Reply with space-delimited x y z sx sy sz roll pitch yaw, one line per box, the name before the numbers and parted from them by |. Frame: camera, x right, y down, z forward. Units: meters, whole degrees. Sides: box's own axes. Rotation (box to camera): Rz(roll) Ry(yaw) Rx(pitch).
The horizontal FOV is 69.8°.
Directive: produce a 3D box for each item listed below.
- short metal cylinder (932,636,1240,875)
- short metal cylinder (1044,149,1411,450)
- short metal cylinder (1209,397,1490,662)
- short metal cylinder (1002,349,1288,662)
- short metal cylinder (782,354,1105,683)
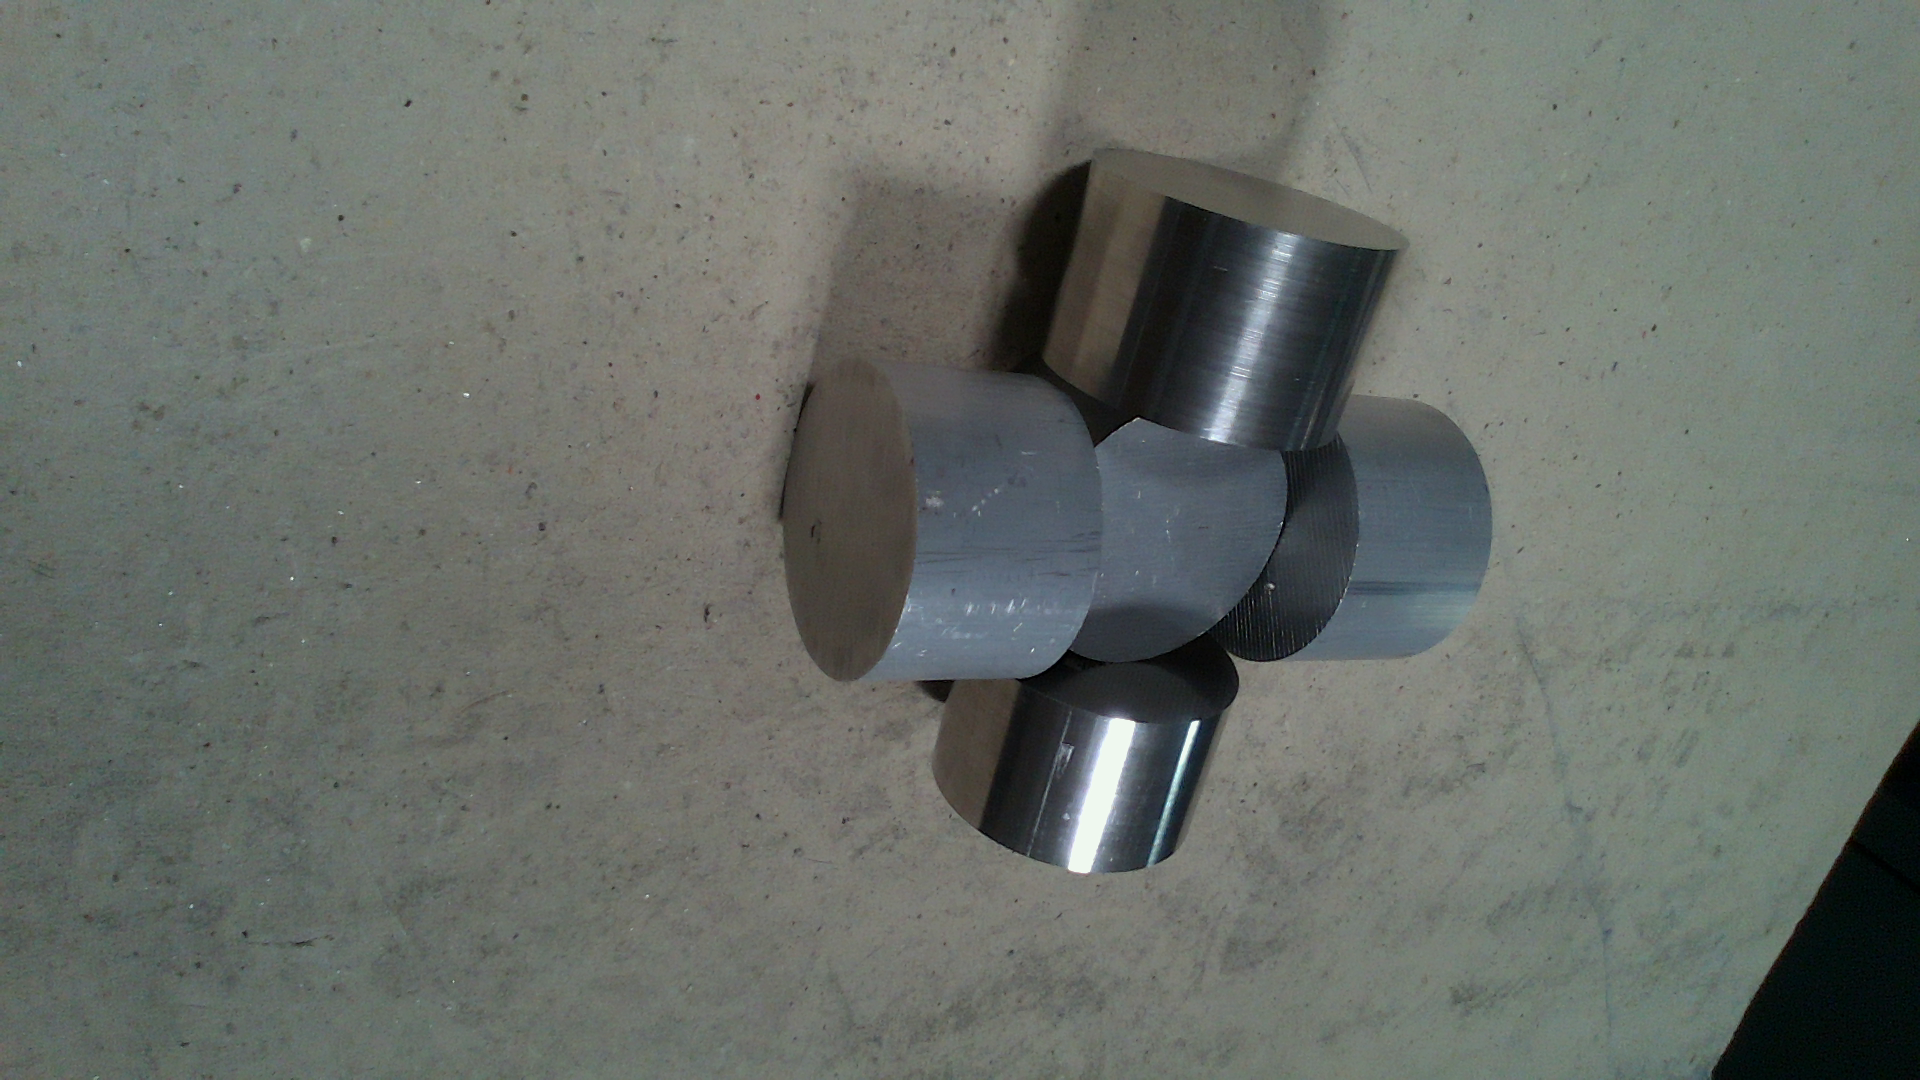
short metal cylinder | 0.036 0.052 0.405 0.080 0.080 0.050 0 118 -28
short metal cylinder | 0.066 -0.063 0.350 0.080 0.080 0.050 1 118 -29
short metal cylinder | 0.108 -0.004 0.410 0.050 0.080 0.080 2 118 -29
short metal cylinder | 0.045 -0.013 0.390 0.080 0.050 0.080 -14 124 -21
short metal cylinder | -0.007 -0.005 0.348 0.050 0.080 0.080 2 118 -29
